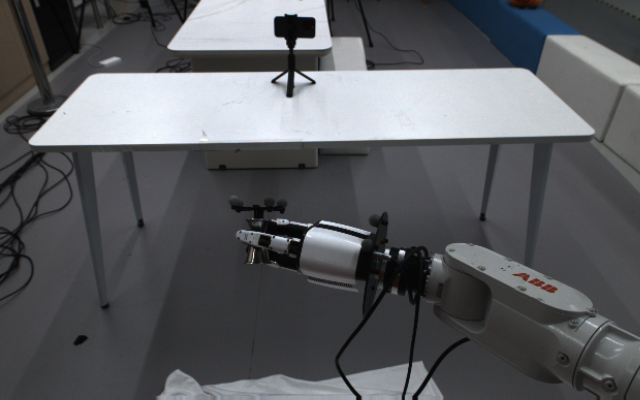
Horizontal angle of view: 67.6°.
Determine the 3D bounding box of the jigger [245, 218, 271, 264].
[{"bbox_3d":[-0.096,0.064,0.745,0.043,0.071,0.043,1,-5,0],"label":"jigger"}]
